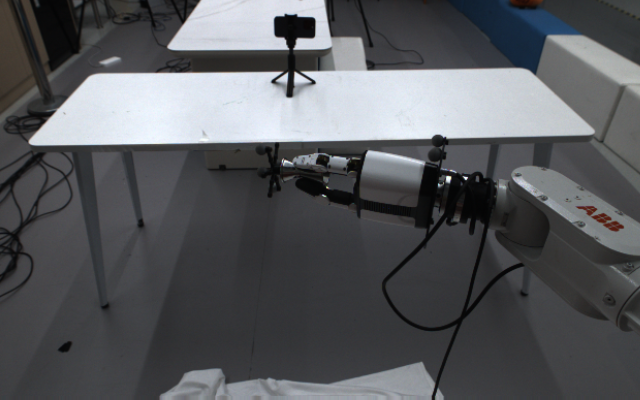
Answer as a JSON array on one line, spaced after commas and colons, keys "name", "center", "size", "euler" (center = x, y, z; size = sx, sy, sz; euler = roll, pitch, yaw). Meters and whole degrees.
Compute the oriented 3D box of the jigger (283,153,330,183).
[{"name": "jigger", "center": [-0.016, -0.048, 0.737], "size": [0.071, 0.043, 0.043], "euler": [3, 34, 14]}]
